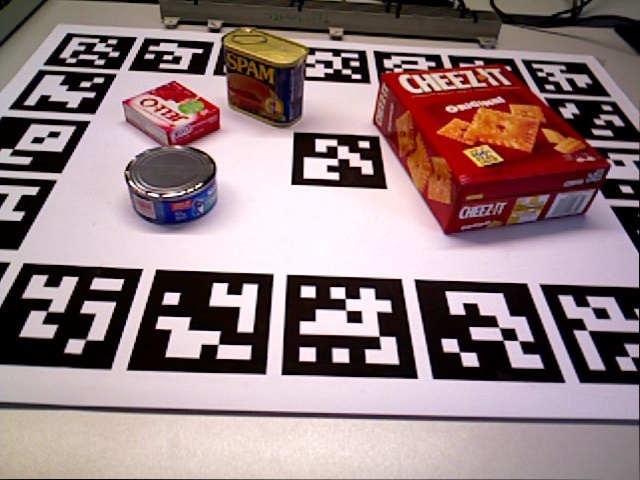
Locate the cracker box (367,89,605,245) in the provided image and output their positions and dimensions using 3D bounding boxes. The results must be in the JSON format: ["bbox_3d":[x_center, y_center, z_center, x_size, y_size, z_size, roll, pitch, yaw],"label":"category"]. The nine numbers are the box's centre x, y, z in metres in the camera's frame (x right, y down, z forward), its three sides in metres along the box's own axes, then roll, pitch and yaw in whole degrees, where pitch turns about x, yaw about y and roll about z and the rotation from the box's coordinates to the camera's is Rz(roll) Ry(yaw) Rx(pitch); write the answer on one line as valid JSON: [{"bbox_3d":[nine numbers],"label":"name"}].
[{"bbox_3d":[0.169,-0.095,0.596,0.162,0.074,0.211,-8,43,-16],"label":"cracker box"}]

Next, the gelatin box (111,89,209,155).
[{"bbox_3d":[-0.185,-0.139,0.633,0.089,0.031,0.071,35,47,24],"label":"gelatin box"}]

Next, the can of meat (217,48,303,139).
[{"bbox_3d":[-0.073,-0.179,0.658,0.102,0.086,0.056,23,45,20],"label":"can of meat"}]

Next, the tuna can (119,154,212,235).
[{"bbox_3d":[-0.149,-0.045,0.529,0.085,0.034,0.084,2,46,-2],"label":"tuna can"}]
